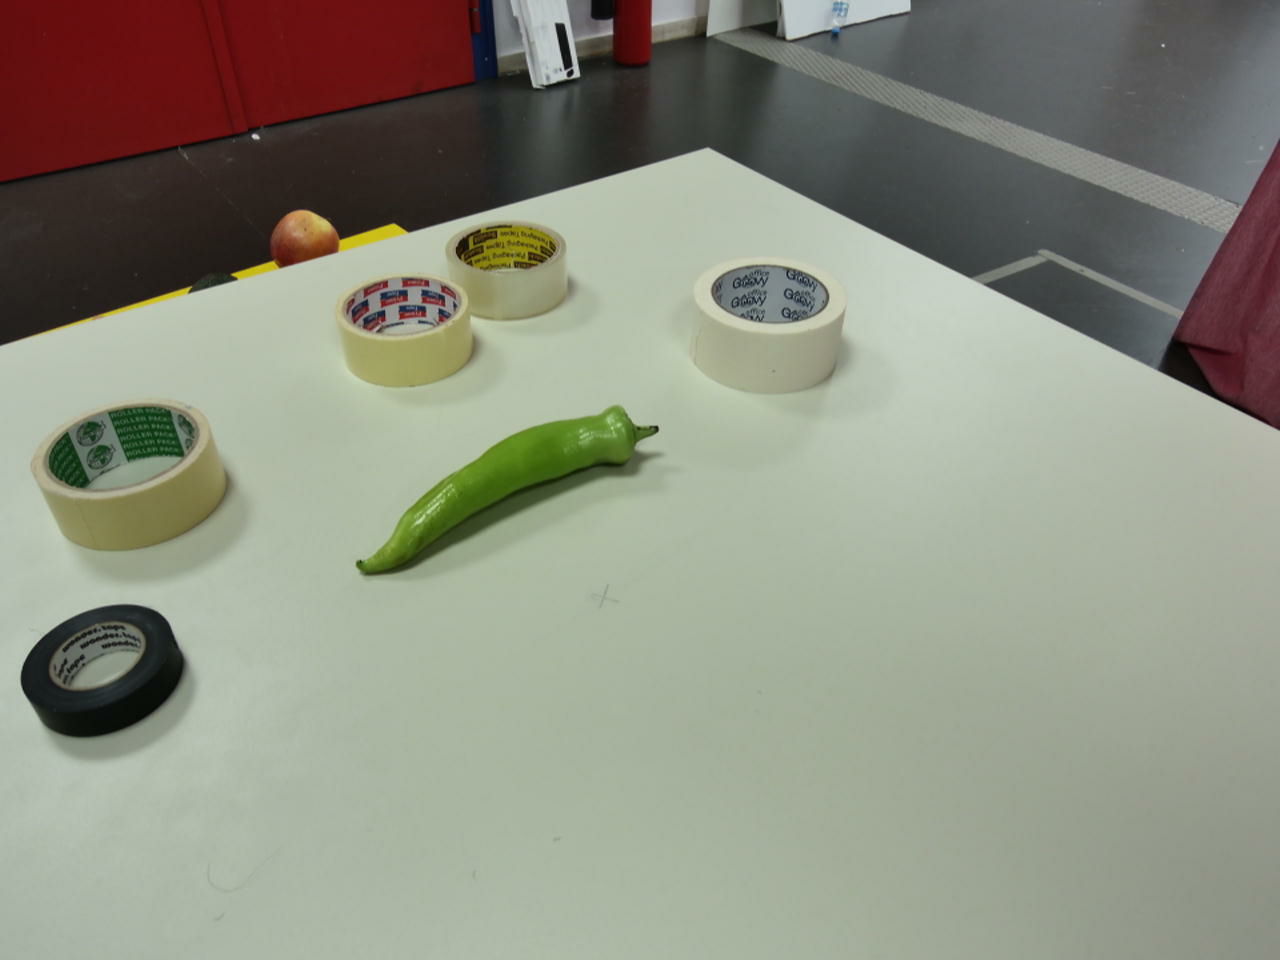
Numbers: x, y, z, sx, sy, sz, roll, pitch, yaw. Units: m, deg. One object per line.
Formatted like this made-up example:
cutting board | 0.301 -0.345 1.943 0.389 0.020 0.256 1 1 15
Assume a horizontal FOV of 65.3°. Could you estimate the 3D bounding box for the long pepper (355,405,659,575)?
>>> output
long pepper | -0.078 -0.003 0.578 0.197 0.038 0.047 -23 44 -27
